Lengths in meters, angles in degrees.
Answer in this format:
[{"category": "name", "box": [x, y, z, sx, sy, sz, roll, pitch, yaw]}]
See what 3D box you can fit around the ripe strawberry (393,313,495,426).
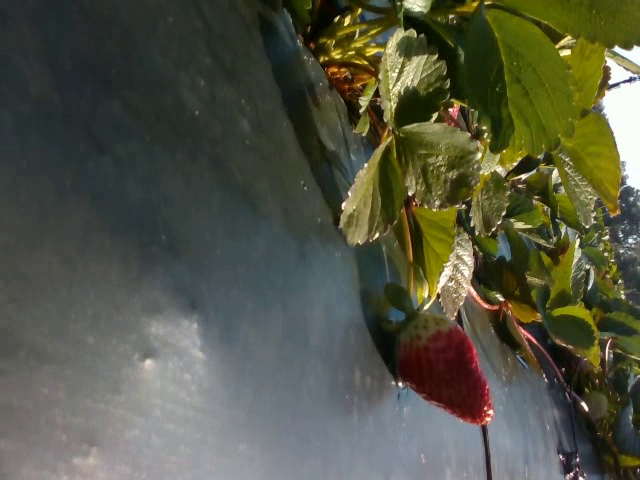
[{"category": "ripe strawberry", "box": [0.039, 0.041, 0.181, 0.028, 0.031, 0.041, -4, 44, -47]}]
